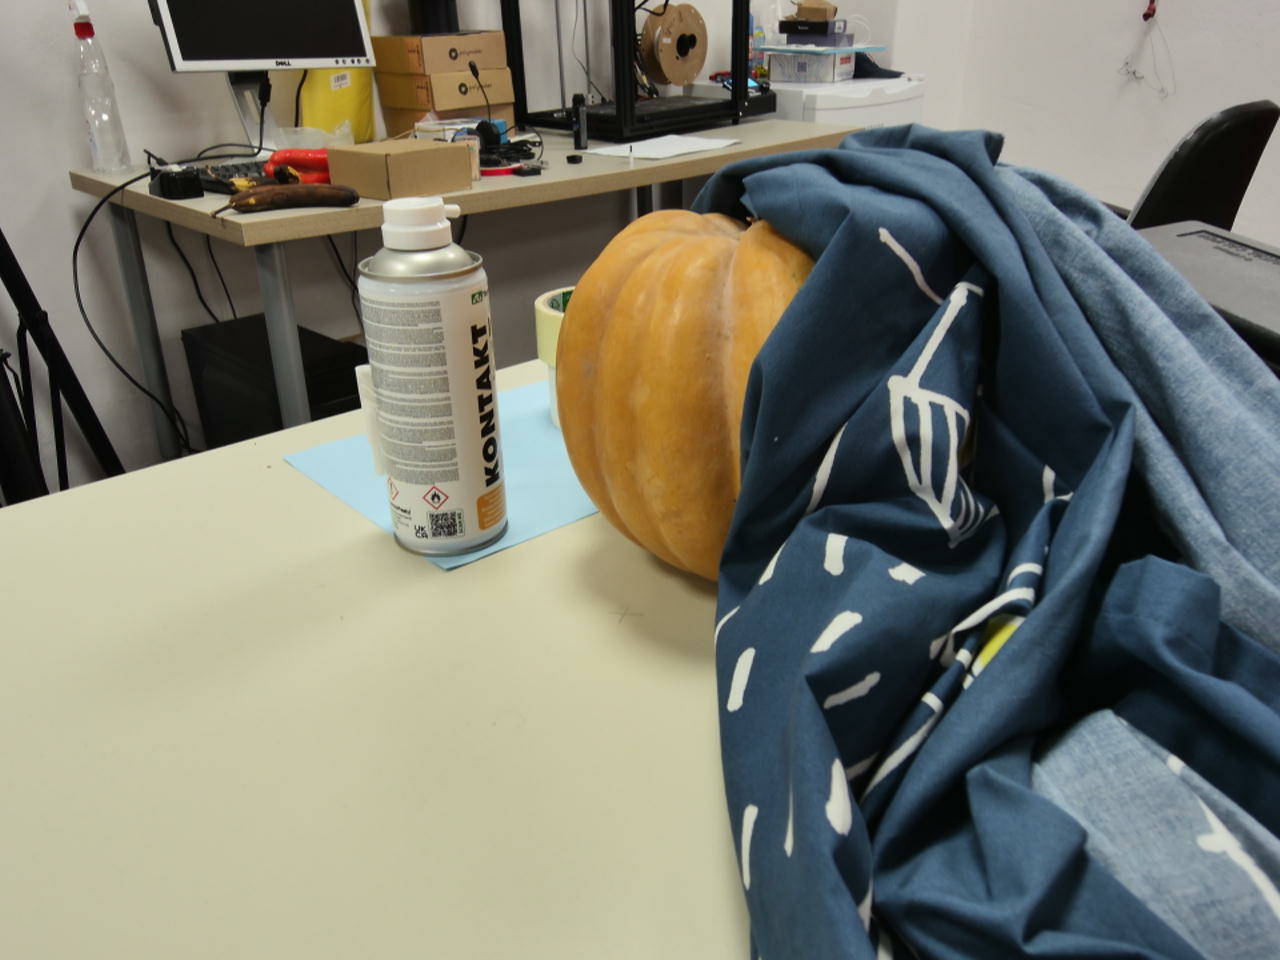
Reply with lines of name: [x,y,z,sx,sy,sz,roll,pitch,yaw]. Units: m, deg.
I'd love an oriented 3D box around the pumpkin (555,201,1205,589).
pumpkin: [0.070,-0.048,0.516,0.230,0.194,0.230,0,23,0]
